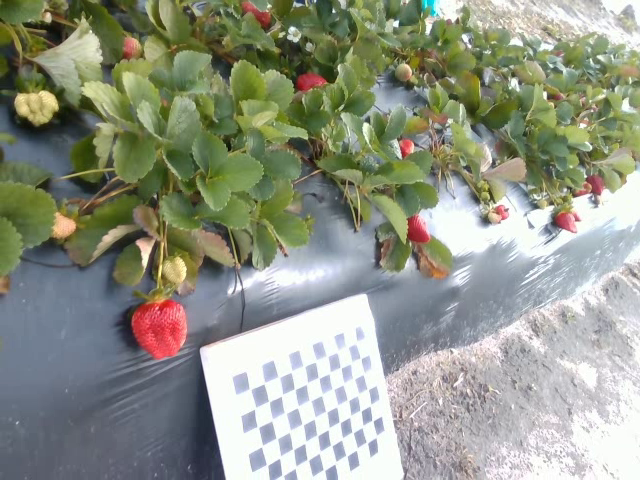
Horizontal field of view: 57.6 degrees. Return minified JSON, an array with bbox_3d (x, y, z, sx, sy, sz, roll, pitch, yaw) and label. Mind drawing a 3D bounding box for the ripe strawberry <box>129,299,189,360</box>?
[{"bbox_3d":[-0.183,0.102,0.661,0.067,0.074,0.039,-7,-6,-43],"label":"ripe strawberry"}]
